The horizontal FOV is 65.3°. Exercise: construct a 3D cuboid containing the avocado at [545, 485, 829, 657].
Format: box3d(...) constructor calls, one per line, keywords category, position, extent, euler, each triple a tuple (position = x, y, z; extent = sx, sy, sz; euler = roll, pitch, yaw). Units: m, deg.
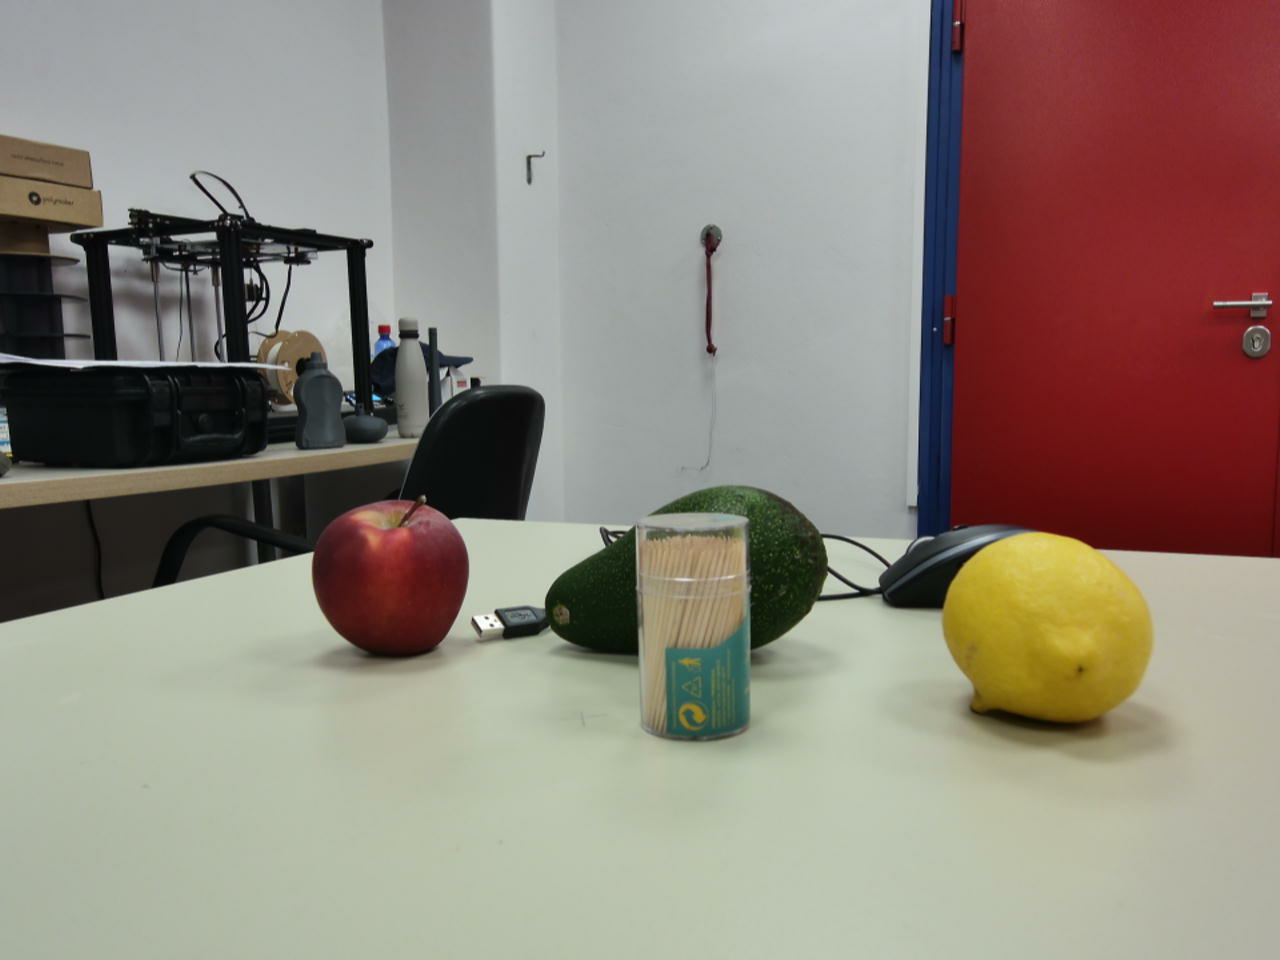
box3d(category="avocado", position=(0.024, 0.040, 0.450), extent=(0.123, 0.076, 0.074), euler=(2, 4, 31))
